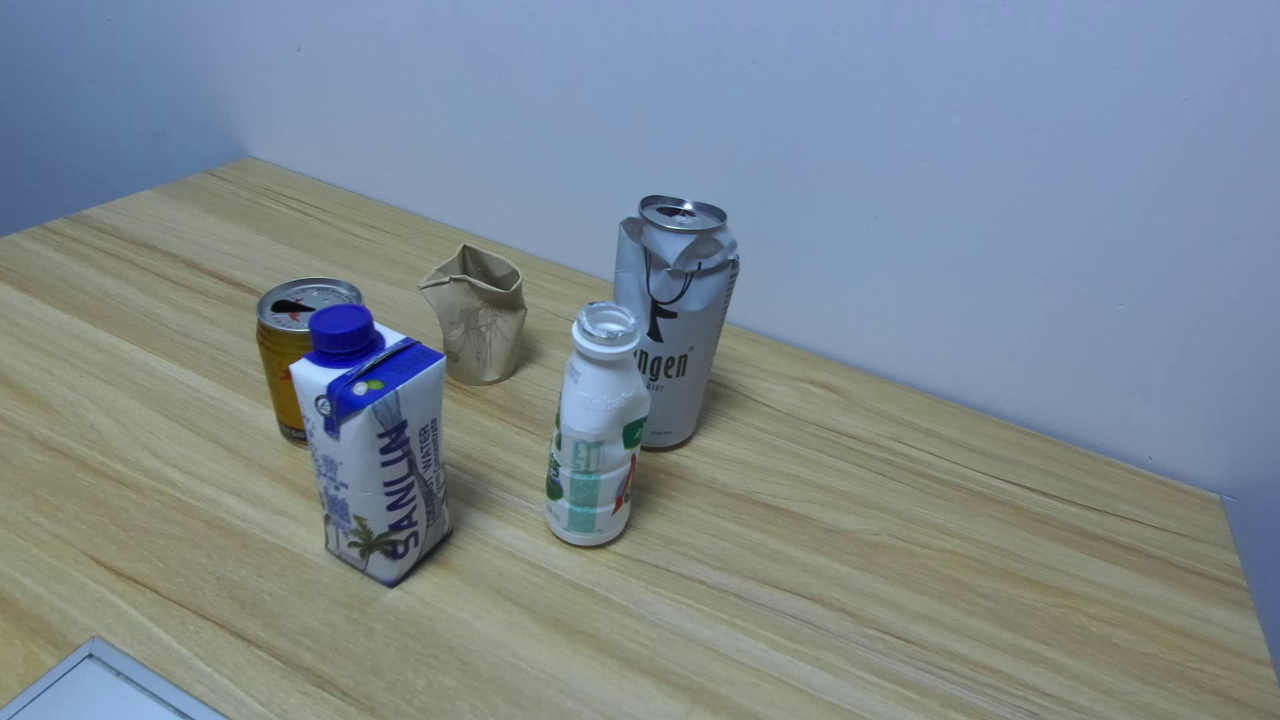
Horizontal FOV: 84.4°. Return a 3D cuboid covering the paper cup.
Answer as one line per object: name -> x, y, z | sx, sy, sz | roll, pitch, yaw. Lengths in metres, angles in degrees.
paper cup -> -0.121, -0.028, 0.516 | 0.066, 0.083, 0.058 | 24, 41, 24

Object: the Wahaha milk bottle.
Wahaha milk bottle -> -0.023, 0.039, 0.388 | 0.056, 0.149, 0.055 | 6, 38, -4

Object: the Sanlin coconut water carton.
Sanlin coconut water carton -> -0.133, 0.044, 0.361 | 0.060, 0.144, 0.061 | 23, 38, 17

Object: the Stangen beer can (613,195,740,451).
Stangen beer can -> 0.018, -0.022, 0.461 | 0.066, 0.166, 0.065 | -13, 41, -26

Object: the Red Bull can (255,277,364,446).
Red Bull can -> -0.201, 0.002, 0.448 | 0.067, 0.093, 0.067 | 5, 36, -3
